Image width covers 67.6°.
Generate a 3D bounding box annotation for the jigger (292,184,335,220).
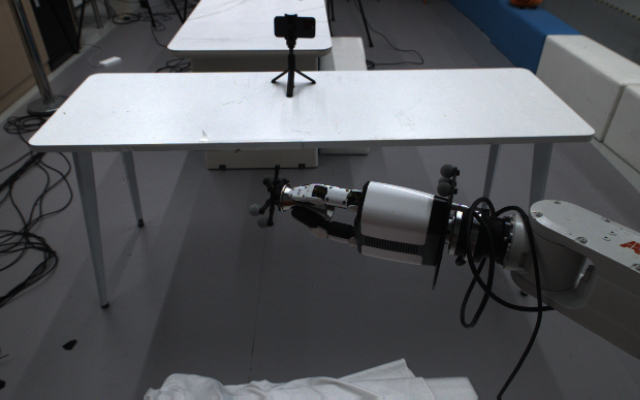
[{"bbox_3d":[-0.011,-0.002,0.664,0.071,0.043,0.043,9,35,16],"label":"jigger"}]
